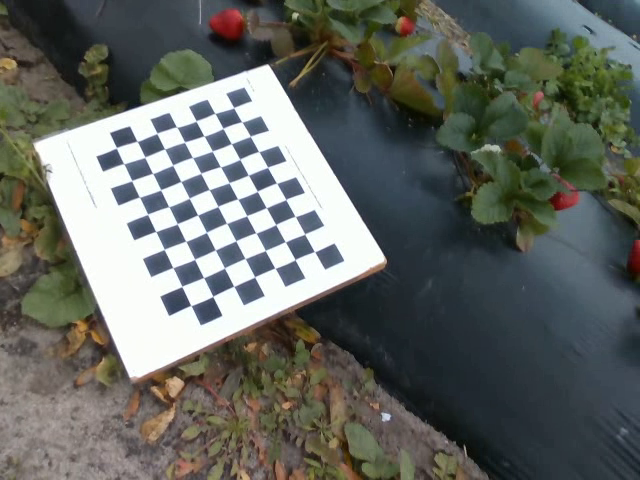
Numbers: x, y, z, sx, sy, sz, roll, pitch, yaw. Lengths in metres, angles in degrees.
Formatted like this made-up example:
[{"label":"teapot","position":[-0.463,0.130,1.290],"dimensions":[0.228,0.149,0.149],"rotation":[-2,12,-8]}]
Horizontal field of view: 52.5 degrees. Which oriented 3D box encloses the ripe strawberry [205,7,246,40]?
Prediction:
[{"label":"ripe strawberry","position":[-0.086,-0.187,0.520],"dimensions":[0.033,0.029,0.022],"rotation":[-10,-29,-10]}]
